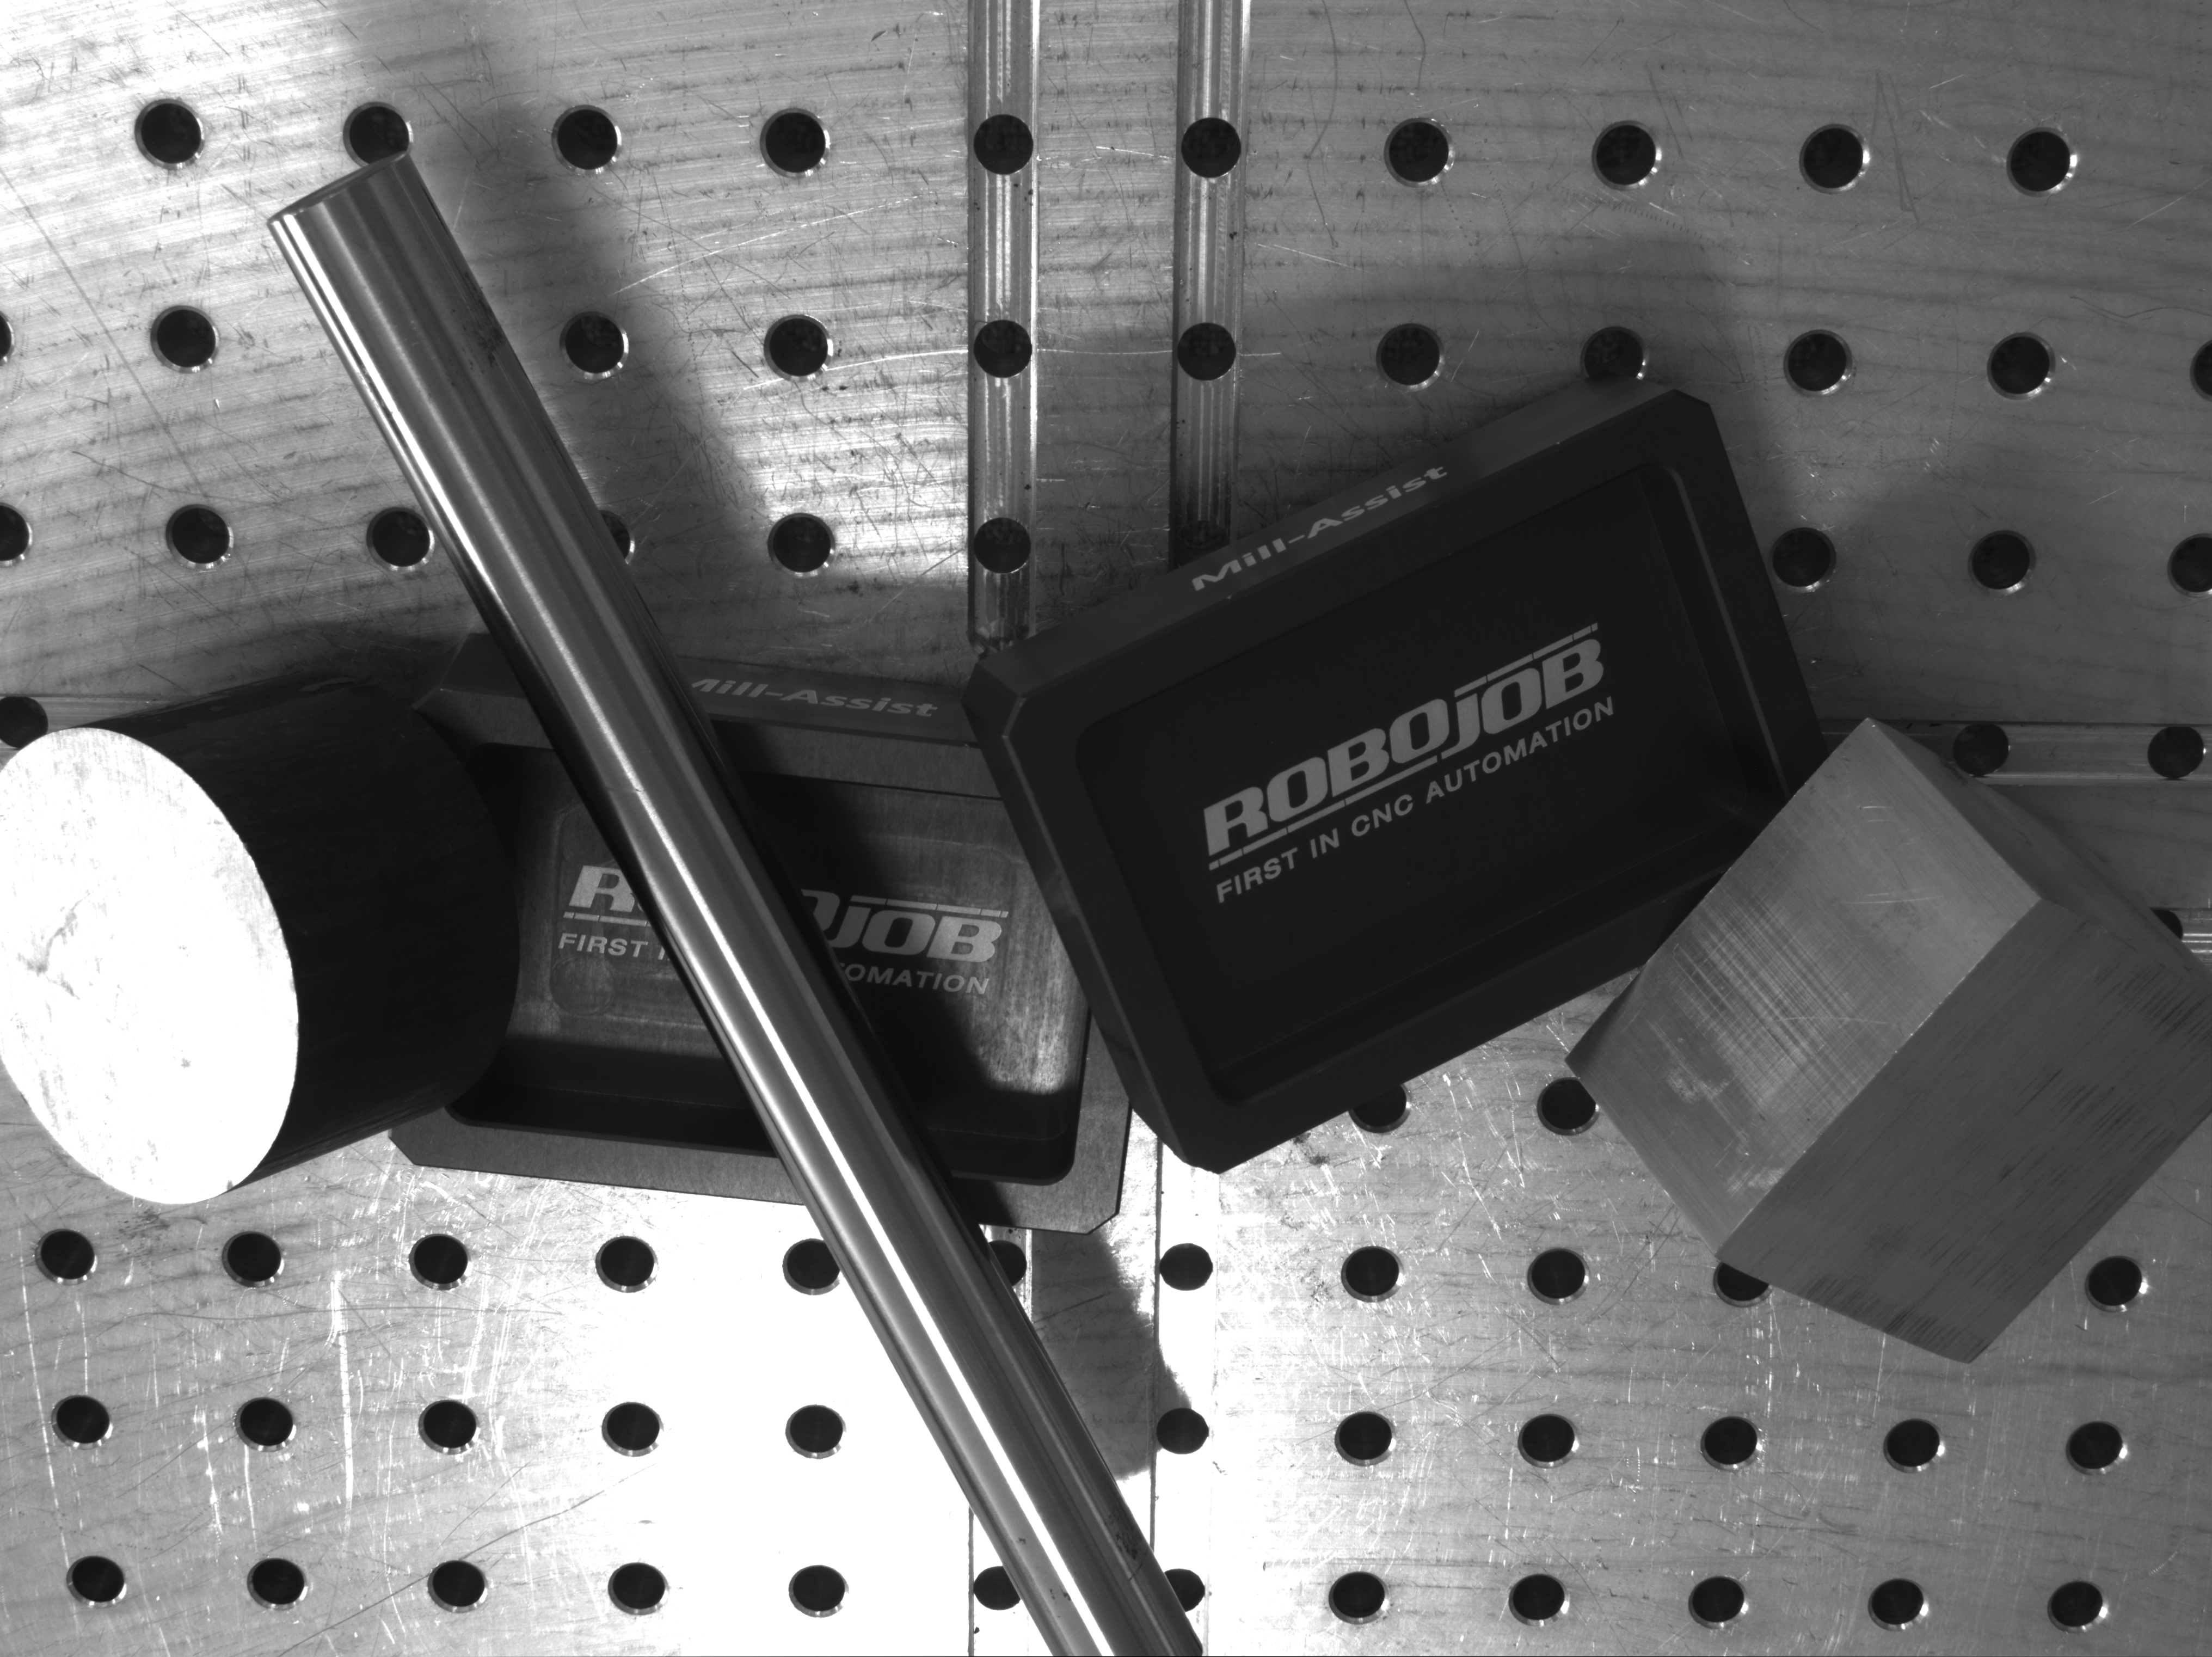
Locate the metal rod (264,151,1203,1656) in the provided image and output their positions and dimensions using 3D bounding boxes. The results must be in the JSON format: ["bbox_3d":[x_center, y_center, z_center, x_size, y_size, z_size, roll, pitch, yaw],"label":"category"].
[{"bbox_3d":[-0.057,0.027,0.624,0.025,0.025,0.300,-24,108,8],"label":"metal rod"}]

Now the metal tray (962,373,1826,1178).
[{"bbox_3d":[0.052,-0.010,0.621,0.130,0.030,0.090,-25,109,-9],"label":"metal tray"}]

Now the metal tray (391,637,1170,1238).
[{"bbox_3d":[-0.057,0.020,0.651,0.130,0.030,0.090,6,110,-2],"label":"metal tray"}]

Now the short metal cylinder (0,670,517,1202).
[{"bbox_3d":[-0.146,0.017,0.620,0.080,0.050,0.080,11,109,33],"label":"short metal cylinder"}]

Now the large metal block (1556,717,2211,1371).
[{"bbox_3d":[0.139,0.039,0.629,0.080,0.050,0.080,25,111,-42],"label":"large metal block"}]
